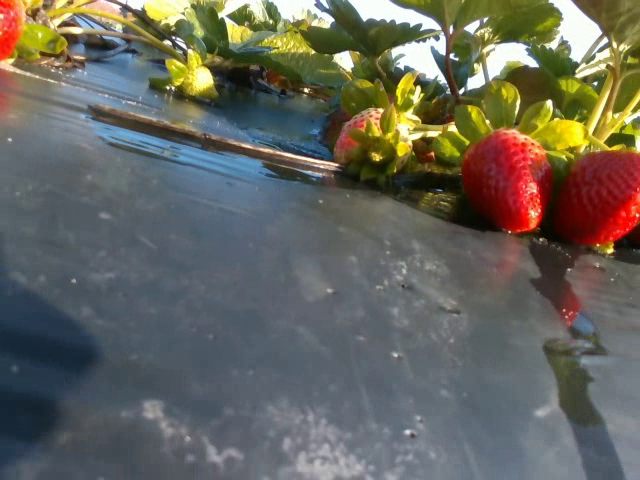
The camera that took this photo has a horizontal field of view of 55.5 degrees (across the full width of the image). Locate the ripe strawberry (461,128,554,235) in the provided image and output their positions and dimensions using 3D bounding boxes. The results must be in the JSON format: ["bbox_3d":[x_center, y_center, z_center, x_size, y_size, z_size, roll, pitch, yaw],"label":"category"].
[{"bbox_3d":[0.060,-0.019,0.186,0.031,0.023,0.046,13,38,-7],"label":"ripe strawberry"}]

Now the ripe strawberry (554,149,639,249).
[{"bbox_3d":[0.089,-0.017,0.185,0.030,0.037,0.039,22,-12,0],"label":"ripe strawberry"}]
